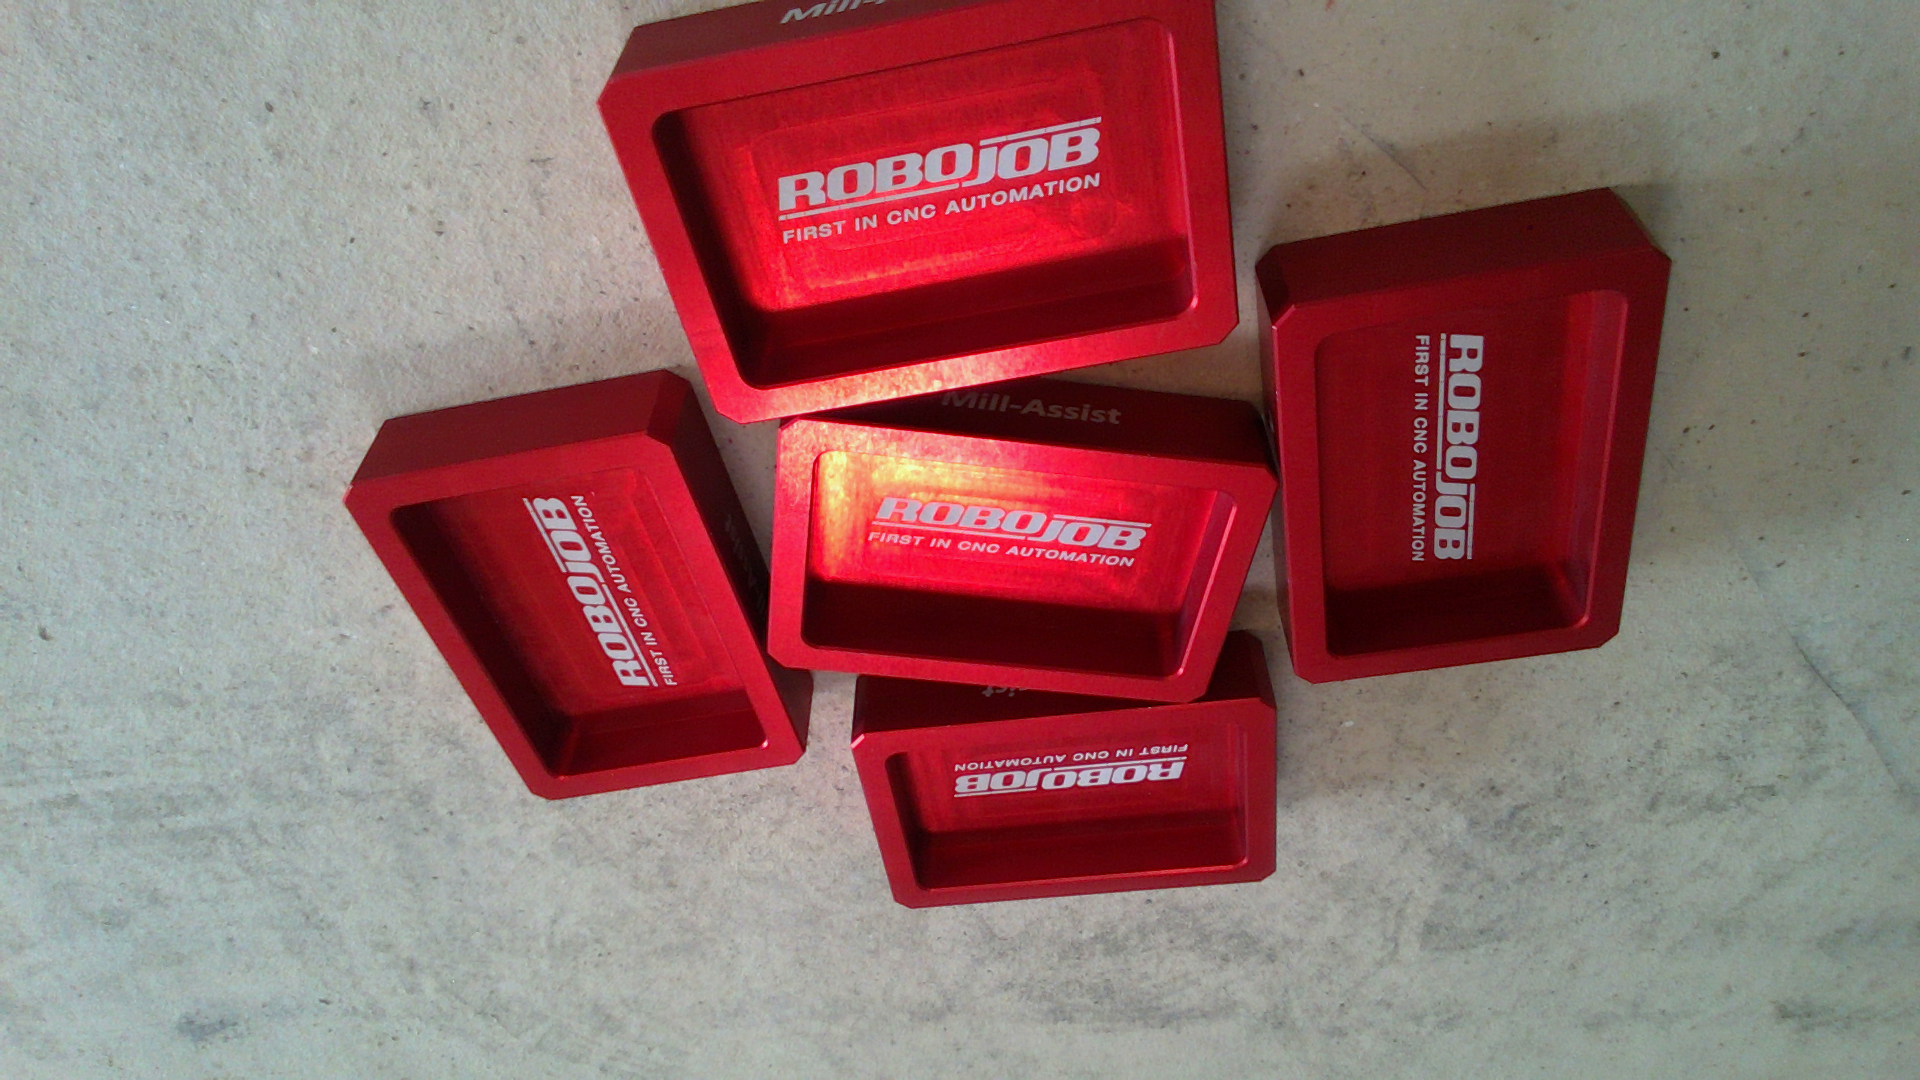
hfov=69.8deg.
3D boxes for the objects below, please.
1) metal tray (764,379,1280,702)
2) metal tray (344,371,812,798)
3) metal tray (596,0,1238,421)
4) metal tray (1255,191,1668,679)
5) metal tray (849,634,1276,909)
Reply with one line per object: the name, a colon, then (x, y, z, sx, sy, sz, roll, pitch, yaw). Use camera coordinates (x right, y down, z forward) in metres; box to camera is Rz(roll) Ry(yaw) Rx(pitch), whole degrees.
metal tray: (0.013, -0.001, 0.387, 0.130, 0.030, 0.090, 6, 132, -5)
metal tray: (-0.105, 0.019, 0.403, 0.090, 0.030, 0.130, -9, 130, 8)
metal tray: (-0.006, -0.081, 0.320, 0.130, 0.030, 0.090, -8, 130, 7)
metal tray: (0.130, -0.022, 0.370, 0.090, 0.030, 0.130, -8, 130, 8)
metal tray: (0.036, 0.079, 0.454, 0.130, 0.030, 0.090, -6, 130, 5)
